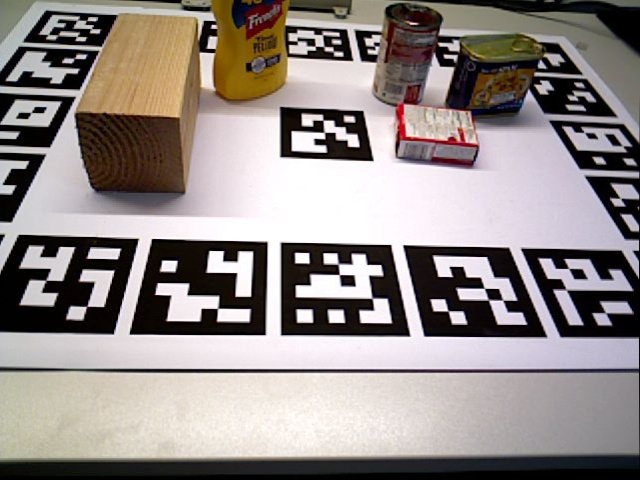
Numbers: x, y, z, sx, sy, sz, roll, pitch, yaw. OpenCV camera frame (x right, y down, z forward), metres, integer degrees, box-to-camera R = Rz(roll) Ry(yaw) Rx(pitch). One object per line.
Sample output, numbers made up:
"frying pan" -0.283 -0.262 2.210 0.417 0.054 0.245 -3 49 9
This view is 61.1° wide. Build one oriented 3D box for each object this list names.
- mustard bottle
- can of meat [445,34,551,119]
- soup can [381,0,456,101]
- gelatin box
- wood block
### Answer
"mustard bottle" -0.075 -0.251 0.600 0.094 0.196 0.058 -17 50 -25
"can of meat" 0.209 -0.196 0.652 0.100 0.086 0.057 -7 48 -17
"soup can" 0.113 -0.228 0.645 0.067 0.104 0.067 3 47 -4
"gelatin box" 0.137 -0.116 0.597 0.089 0.031 0.072 7 47 3
"wood block" -0.170 -0.147 0.552 0.090 0.092 0.203 3 41 -7
